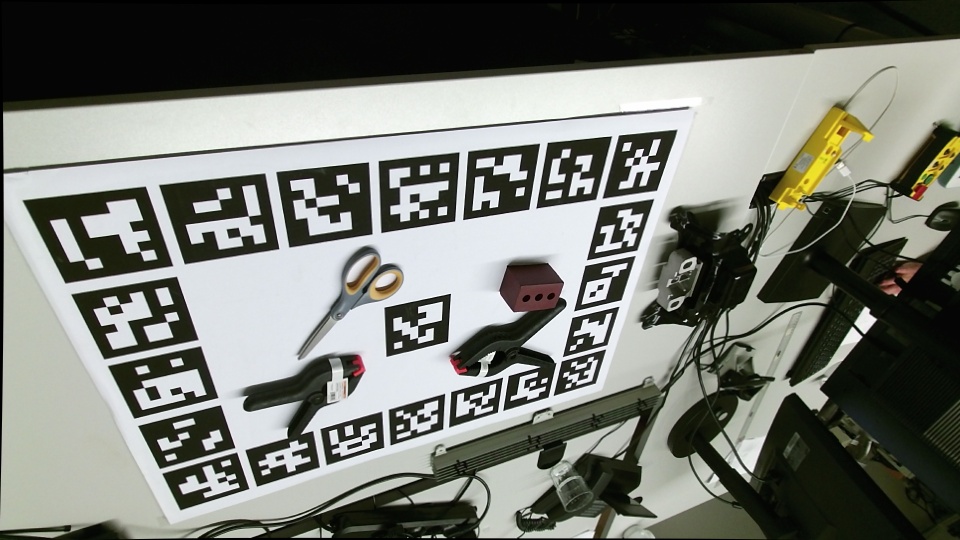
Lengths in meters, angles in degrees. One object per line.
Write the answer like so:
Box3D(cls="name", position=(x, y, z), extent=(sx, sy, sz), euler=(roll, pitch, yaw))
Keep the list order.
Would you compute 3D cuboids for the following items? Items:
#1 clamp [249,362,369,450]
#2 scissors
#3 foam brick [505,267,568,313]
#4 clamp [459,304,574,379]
Box3D(cls="clamp", position=(-0.237, 0.193, 0.798), extent=(0.165, 0.036, 0.122), euler=(-33, 126, -4))
Box3D(cls="scissors", position=(-0.172, 0.061, 0.740), extent=(0.088, 0.016, 0.203), euler=(32, 106, -33))
Box3D(cls="foam brick", position=(0.089, 0.032, 0.845), extent=(0.078, 0.051, 0.053), euler=(-7, 125, -30))
Box3D(cls="clamp", position=(0.062, 0.144, 0.920), extent=(0.203, 0.036, 0.165), euler=(-14, 132, -18))
